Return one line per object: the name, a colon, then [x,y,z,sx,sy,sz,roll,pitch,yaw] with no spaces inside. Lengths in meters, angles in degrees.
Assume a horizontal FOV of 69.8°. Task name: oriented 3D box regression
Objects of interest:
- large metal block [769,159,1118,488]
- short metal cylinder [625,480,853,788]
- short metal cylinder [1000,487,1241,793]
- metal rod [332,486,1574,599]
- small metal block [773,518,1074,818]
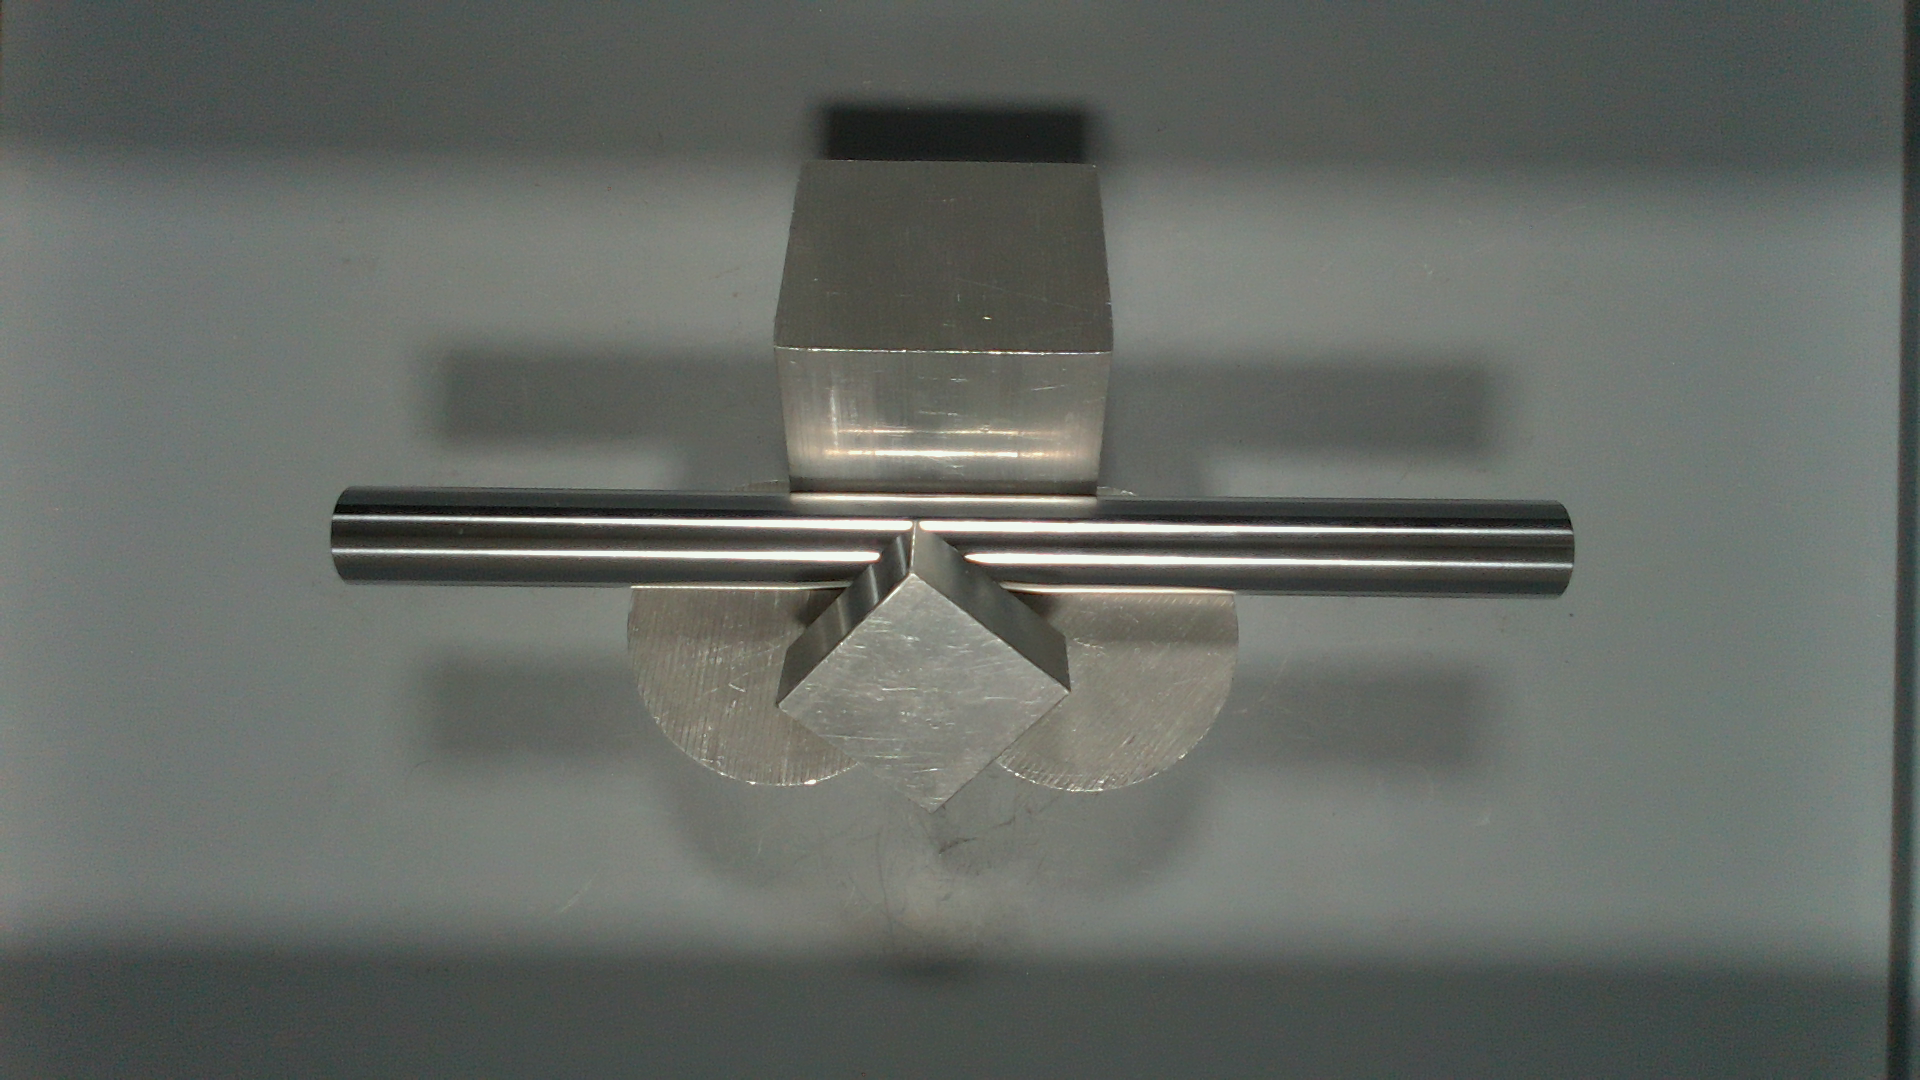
large metal block: [-0.003,-0.056,0.361,0.080,0.050,0.080,1,47,0]
short metal cylinder: [-0.047,0.024,0.382,0.080,0.050,0.080,0,90,0]
short metal cylinder: [0.033,0.026,0.382,0.080,0.050,0.080,0,90,0]
metal rod: [-0.001,0.001,0.344,0.300,0.025,0.025,1,90,0]
small metal block: [-0.009,0.032,0.334,0.050,0.025,0.050,38,112,-19]
